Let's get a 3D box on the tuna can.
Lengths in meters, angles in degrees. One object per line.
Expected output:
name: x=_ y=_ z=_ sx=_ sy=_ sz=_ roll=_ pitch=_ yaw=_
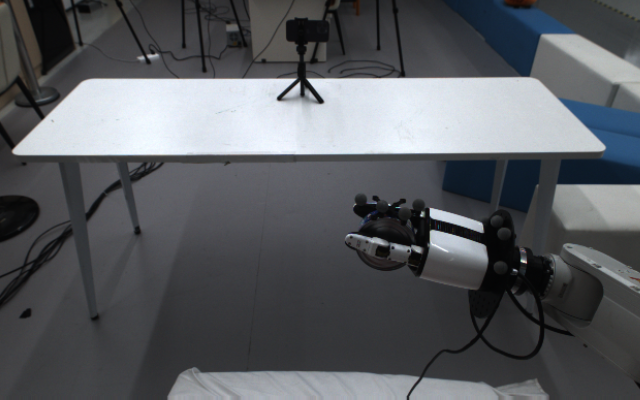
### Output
tuna can: x=0.097 y=0.061 z=0.690 sx=0.085 sy=0.085 sz=0.034 roll=7 pitch=22 yaw=7
